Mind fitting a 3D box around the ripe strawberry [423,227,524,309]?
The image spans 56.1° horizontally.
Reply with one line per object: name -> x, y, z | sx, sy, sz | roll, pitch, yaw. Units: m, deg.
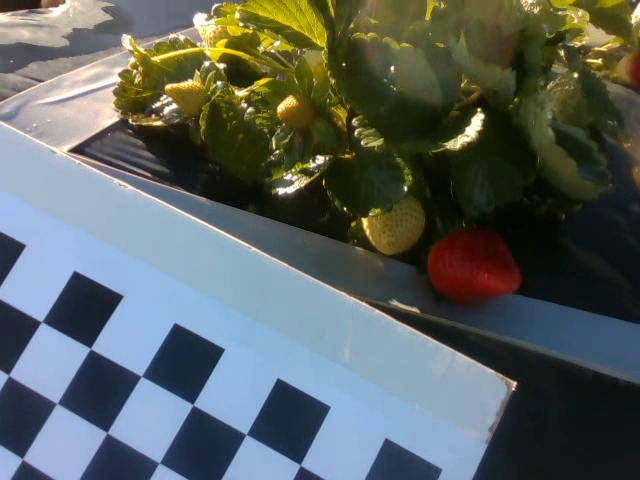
ripe strawberry -> 0.077, 0.013, 0.292 | 0.045, 0.049, 0.063 | -39, 18, -4
